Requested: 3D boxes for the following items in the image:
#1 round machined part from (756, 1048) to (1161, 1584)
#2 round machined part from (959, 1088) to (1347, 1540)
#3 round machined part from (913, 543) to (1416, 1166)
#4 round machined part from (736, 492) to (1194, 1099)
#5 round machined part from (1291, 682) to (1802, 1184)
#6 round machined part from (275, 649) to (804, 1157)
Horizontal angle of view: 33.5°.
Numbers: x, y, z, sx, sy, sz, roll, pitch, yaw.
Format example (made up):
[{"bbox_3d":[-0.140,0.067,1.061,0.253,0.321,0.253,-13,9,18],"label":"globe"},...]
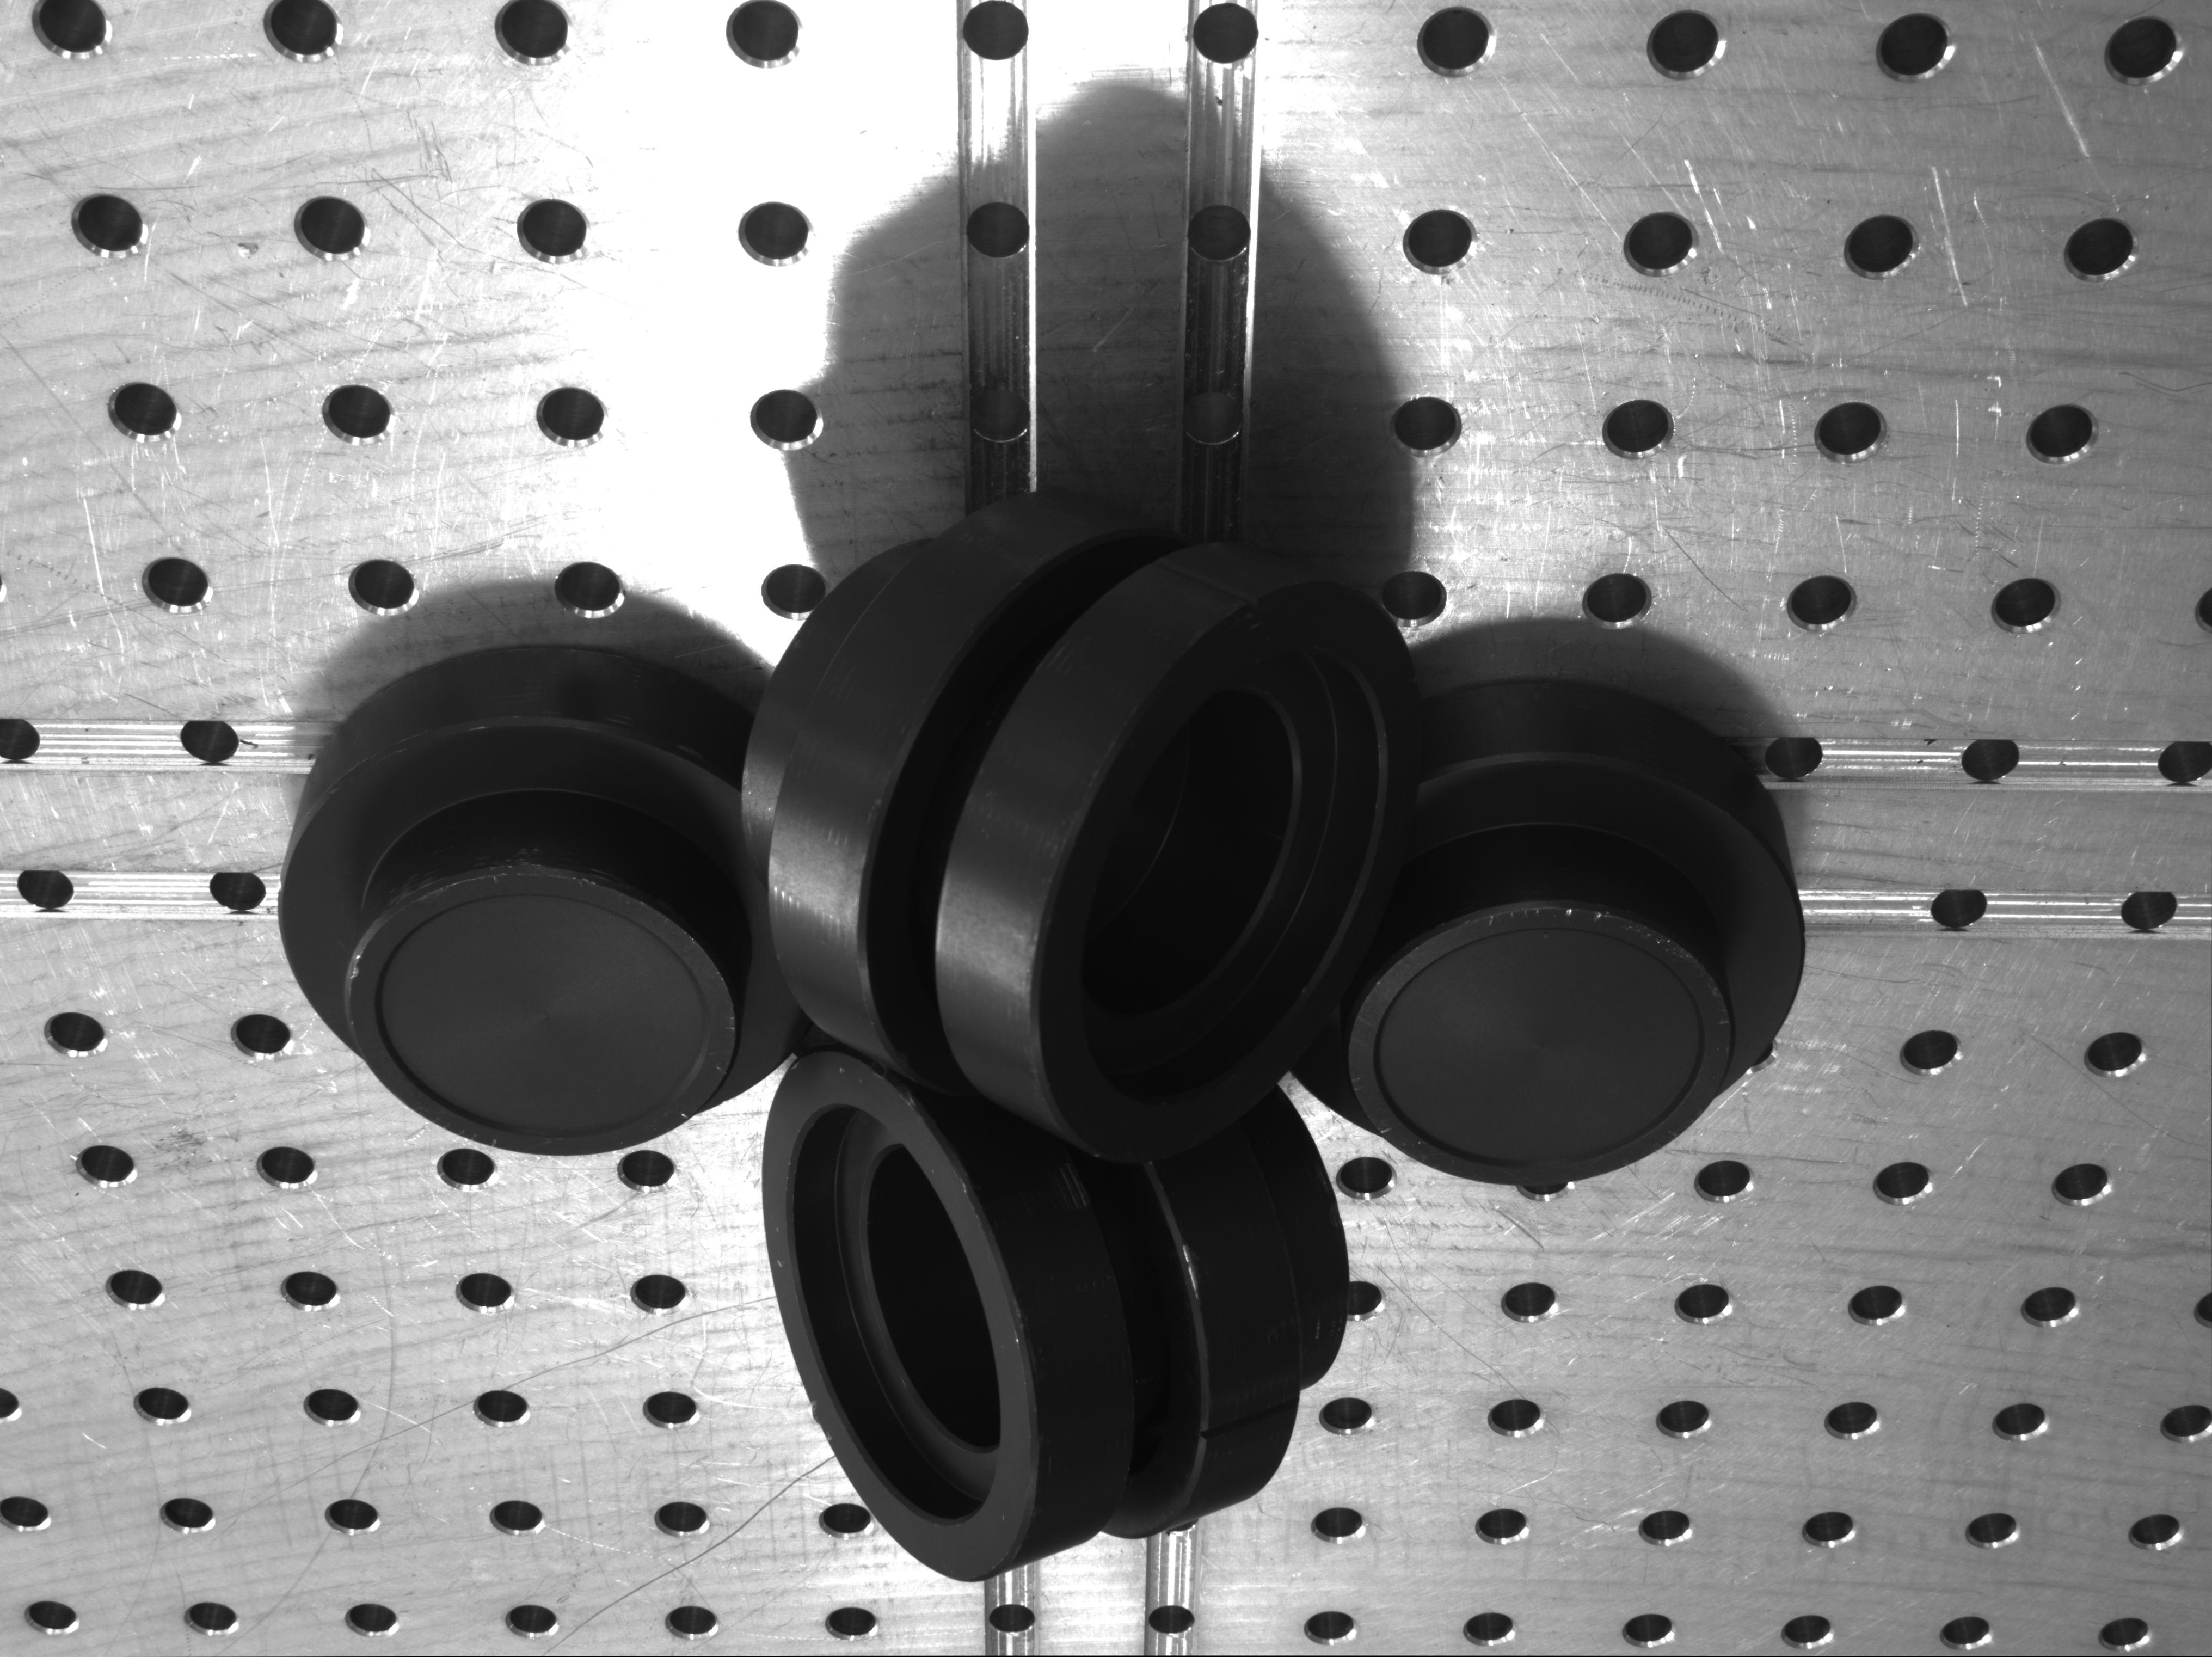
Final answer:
[{"bbox_3d":[-0.022,0.082,0.657,0.042,0.098,0.098,-15,137,-29],"label":"round machined part"},{"bbox_3d":[0.008,0.076,0.671,0.042,0.098,0.098,-15,137,-30],"label":"round machined part"},{"bbox_3d":[0.004,0.001,0.587,0.042,0.098,0.098,25,139,33],"label":"round machined part"},{"bbox_3d":[-0.022,-0.009,0.603,0.042,0.098,0.098,25,139,33],"label":"round machined part"},{"bbox_3d":[0.075,0.025,0.653,0.098,0.042,0.098,0,130,0],"label":"round machined part"},{"bbox_3d":[-0.097,0.020,0.647,0.098,0.042,0.098,0,130,0],"label":"round machined part"}]
